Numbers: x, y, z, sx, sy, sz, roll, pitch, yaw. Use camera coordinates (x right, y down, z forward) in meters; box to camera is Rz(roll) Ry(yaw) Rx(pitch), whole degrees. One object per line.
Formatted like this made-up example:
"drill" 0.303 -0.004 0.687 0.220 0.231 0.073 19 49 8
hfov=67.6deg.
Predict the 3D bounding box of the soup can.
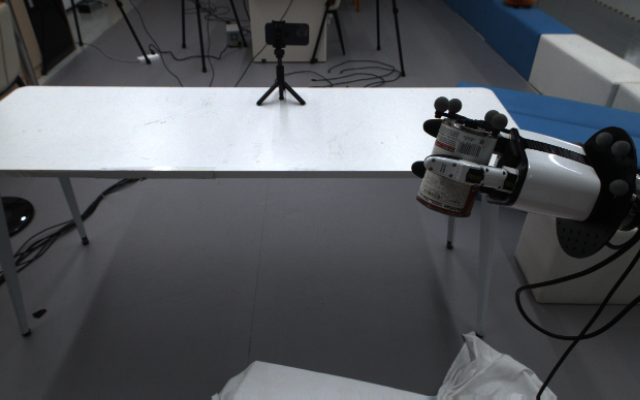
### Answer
"soup can" 0.164 -0.039 0.578 0.067 0.101 0.067 13 18 -4
